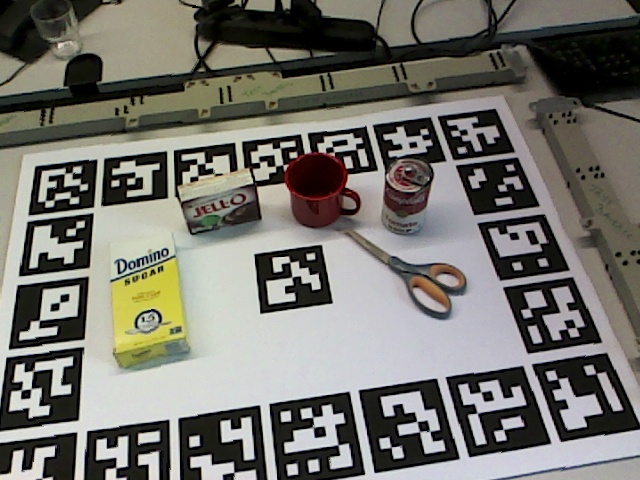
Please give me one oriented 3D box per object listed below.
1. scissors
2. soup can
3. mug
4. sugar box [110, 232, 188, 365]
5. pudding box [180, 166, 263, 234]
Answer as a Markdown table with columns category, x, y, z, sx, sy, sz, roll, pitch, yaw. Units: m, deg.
| category | x | y | z | sx | sy | sz | roll | pitch | yaw |
| --- | --- | --- | --- | --- | --- | --- | --- | --- | --- |
| scissors | 0.115 | 0.039 | 0.894 | 0.204 | 0.016 | 0.087 | 34 | 74 | 21 |
| soup can | 0.122 | -0.062 | 0.919 | 0.068 | 0.102 | 0.068 | -2 | 56 | 2 |
| mug | 0.002 | -0.077 | 0.938 | 0.093 | 0.081 | 0.118 | -41 | 63 | -19 |
| sugar box | -0.244 | 0.079 | 0.872 | 0.093 | 0.045 | 0.177 | -12 | 59 | -3 |
| pudding box | -0.145 | -0.059 | 0.923 | 0.113 | 0.090 | 0.039 | -16 | 64 | -9 |
